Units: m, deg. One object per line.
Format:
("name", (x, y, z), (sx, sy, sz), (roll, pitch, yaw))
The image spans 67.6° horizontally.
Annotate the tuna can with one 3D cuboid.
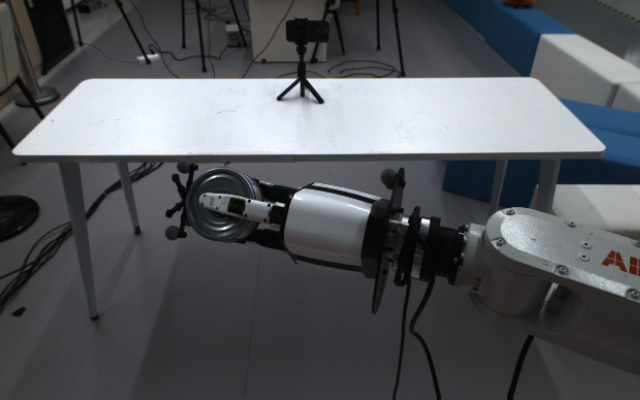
("tuna can", (-0.106, 0.005, 0.559), (0.085, 0.085, 0.034), (10, -6, 11))
